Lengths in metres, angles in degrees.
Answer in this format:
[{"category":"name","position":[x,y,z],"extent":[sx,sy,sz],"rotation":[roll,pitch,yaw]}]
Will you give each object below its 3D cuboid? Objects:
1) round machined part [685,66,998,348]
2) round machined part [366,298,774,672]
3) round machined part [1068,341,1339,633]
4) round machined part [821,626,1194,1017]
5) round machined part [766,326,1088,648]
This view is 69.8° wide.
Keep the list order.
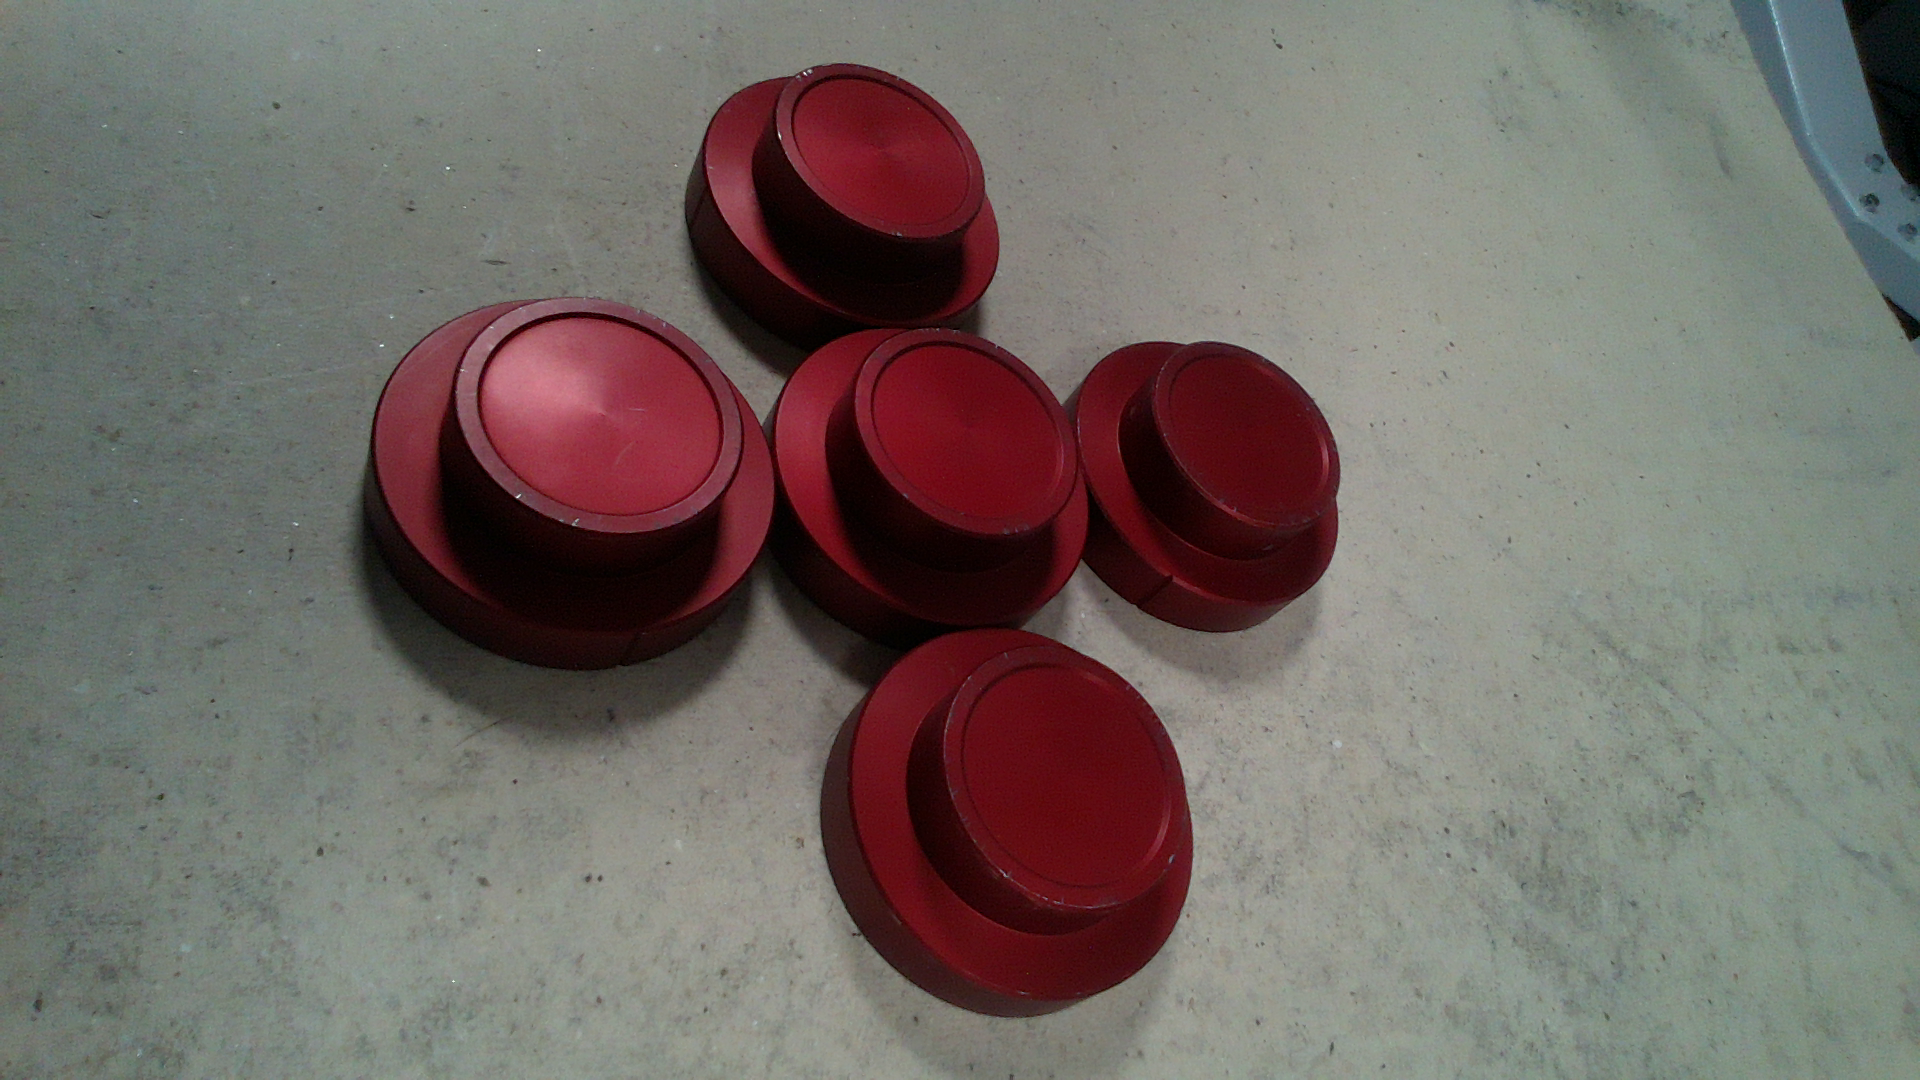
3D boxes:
[{"category":"round machined part","position":[-0.032,-0.107,0.428],"extent":[0.098,0.042,0.098],"rotation":[14,56,-21]},{"category":"round machined part","position":[-0.093,-0.020,0.342],"extent":[0.098,0.042,0.098],"rotation":[14,56,-21]},{"category":"round machined part","position":[0.080,-0.024,0.436],"extent":[0.098,0.042,0.098],"rotation":[14,56,-21]},{"category":"round machined part","position":[0.018,0.066,0.348],"extent":[0.098,0.042,0.098],"rotation":[14,56,-21]},{"category":"round machined part","position":[-0.006,-0.021,0.388],"extent":[0.098,0.042,0.098],"rotation":[14,56,-21]}]
